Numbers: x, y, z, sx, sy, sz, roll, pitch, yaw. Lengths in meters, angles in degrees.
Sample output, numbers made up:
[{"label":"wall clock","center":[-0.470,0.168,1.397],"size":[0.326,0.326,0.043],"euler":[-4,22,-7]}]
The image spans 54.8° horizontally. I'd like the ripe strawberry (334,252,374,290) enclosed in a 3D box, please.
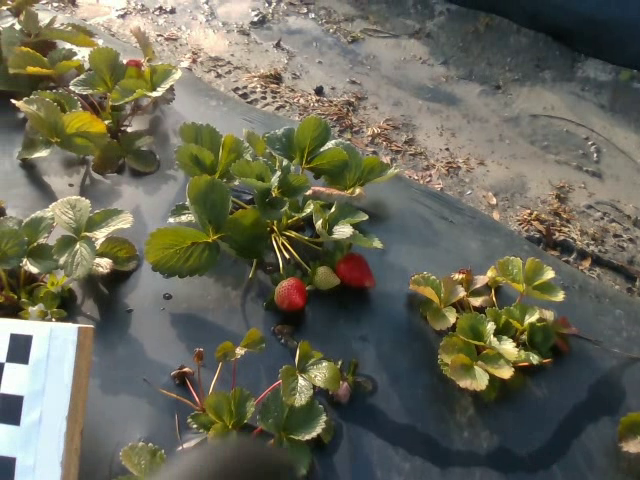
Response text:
[{"label":"ripe strawberry","center":[0.049,0.043,0.782],"size":[0.064,0.049,0.050],"euler":[45,6,22]}]
